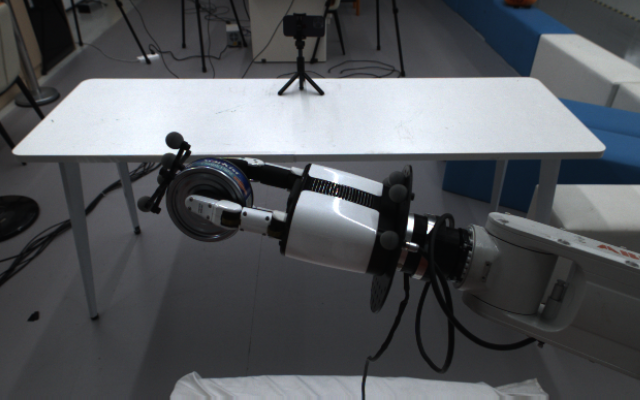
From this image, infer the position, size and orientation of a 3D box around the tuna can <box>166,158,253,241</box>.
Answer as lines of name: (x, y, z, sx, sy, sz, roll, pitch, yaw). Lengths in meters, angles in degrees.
tuna can: (-0.111, 0.004, 0.506, 0.085, 0.085, 0.034, 3, 21, 2)
